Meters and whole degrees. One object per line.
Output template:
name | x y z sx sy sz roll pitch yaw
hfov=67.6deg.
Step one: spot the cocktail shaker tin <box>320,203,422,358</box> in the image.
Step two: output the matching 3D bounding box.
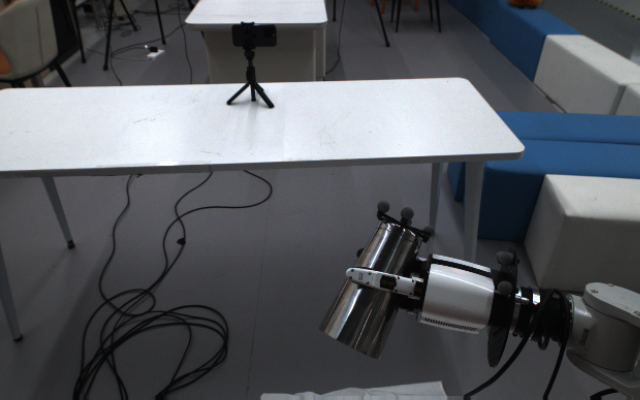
cocktail shaker tin | 0.079 0.116 0.669 0.093 0.093 0.170 21 81 25
